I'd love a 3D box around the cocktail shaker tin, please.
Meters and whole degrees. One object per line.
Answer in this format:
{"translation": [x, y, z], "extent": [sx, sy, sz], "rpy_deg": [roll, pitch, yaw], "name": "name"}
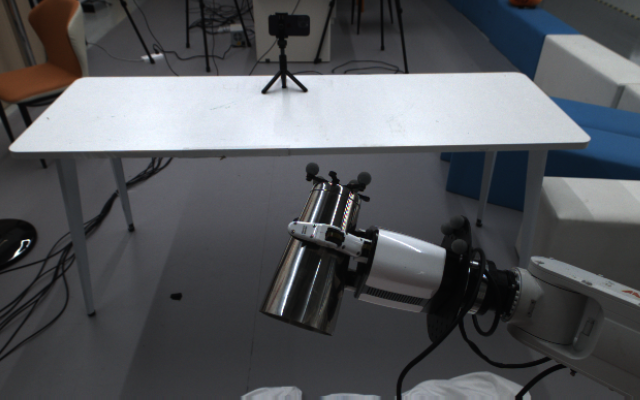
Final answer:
{"translation": [-0.004, 0.068, 0.590], "extent": [0.093, 0.093, 0.170], "rpy_deg": [13, 70, 15], "name": "cocktail shaker tin"}
